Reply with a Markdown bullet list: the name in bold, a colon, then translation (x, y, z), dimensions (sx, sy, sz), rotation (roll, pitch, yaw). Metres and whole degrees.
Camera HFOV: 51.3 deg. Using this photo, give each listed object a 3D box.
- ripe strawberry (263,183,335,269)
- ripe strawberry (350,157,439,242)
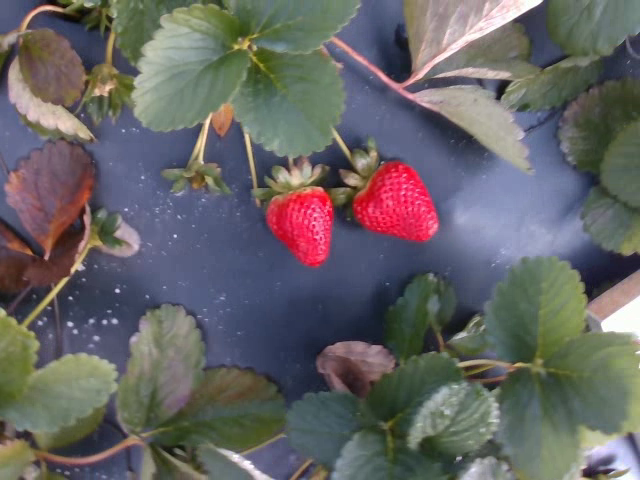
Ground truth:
- **ripe strawberry**: translation (-0.009, -0.009, 0.430), dimensions (0.048, 0.056, 0.041), rotation (-20, 0, -5)
- **ripe strawberry**: translation (0.053, -0.020, 0.434), dimensions (0.064, 0.058, 0.051), rotation (39, 7, 10)
